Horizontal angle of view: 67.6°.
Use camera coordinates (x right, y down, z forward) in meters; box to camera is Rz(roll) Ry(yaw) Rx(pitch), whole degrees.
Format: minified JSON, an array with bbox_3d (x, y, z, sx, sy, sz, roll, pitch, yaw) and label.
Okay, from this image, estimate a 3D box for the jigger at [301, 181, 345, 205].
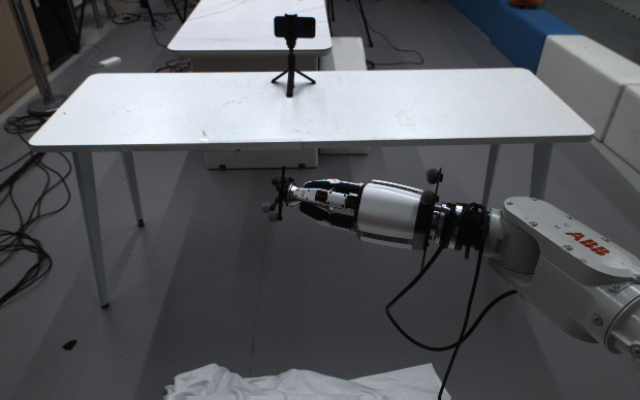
[{"bbox_3d":[-0.007,-0.008,0.755,0.071,0.043,0.043,7,35,16],"label":"jigger"}]
